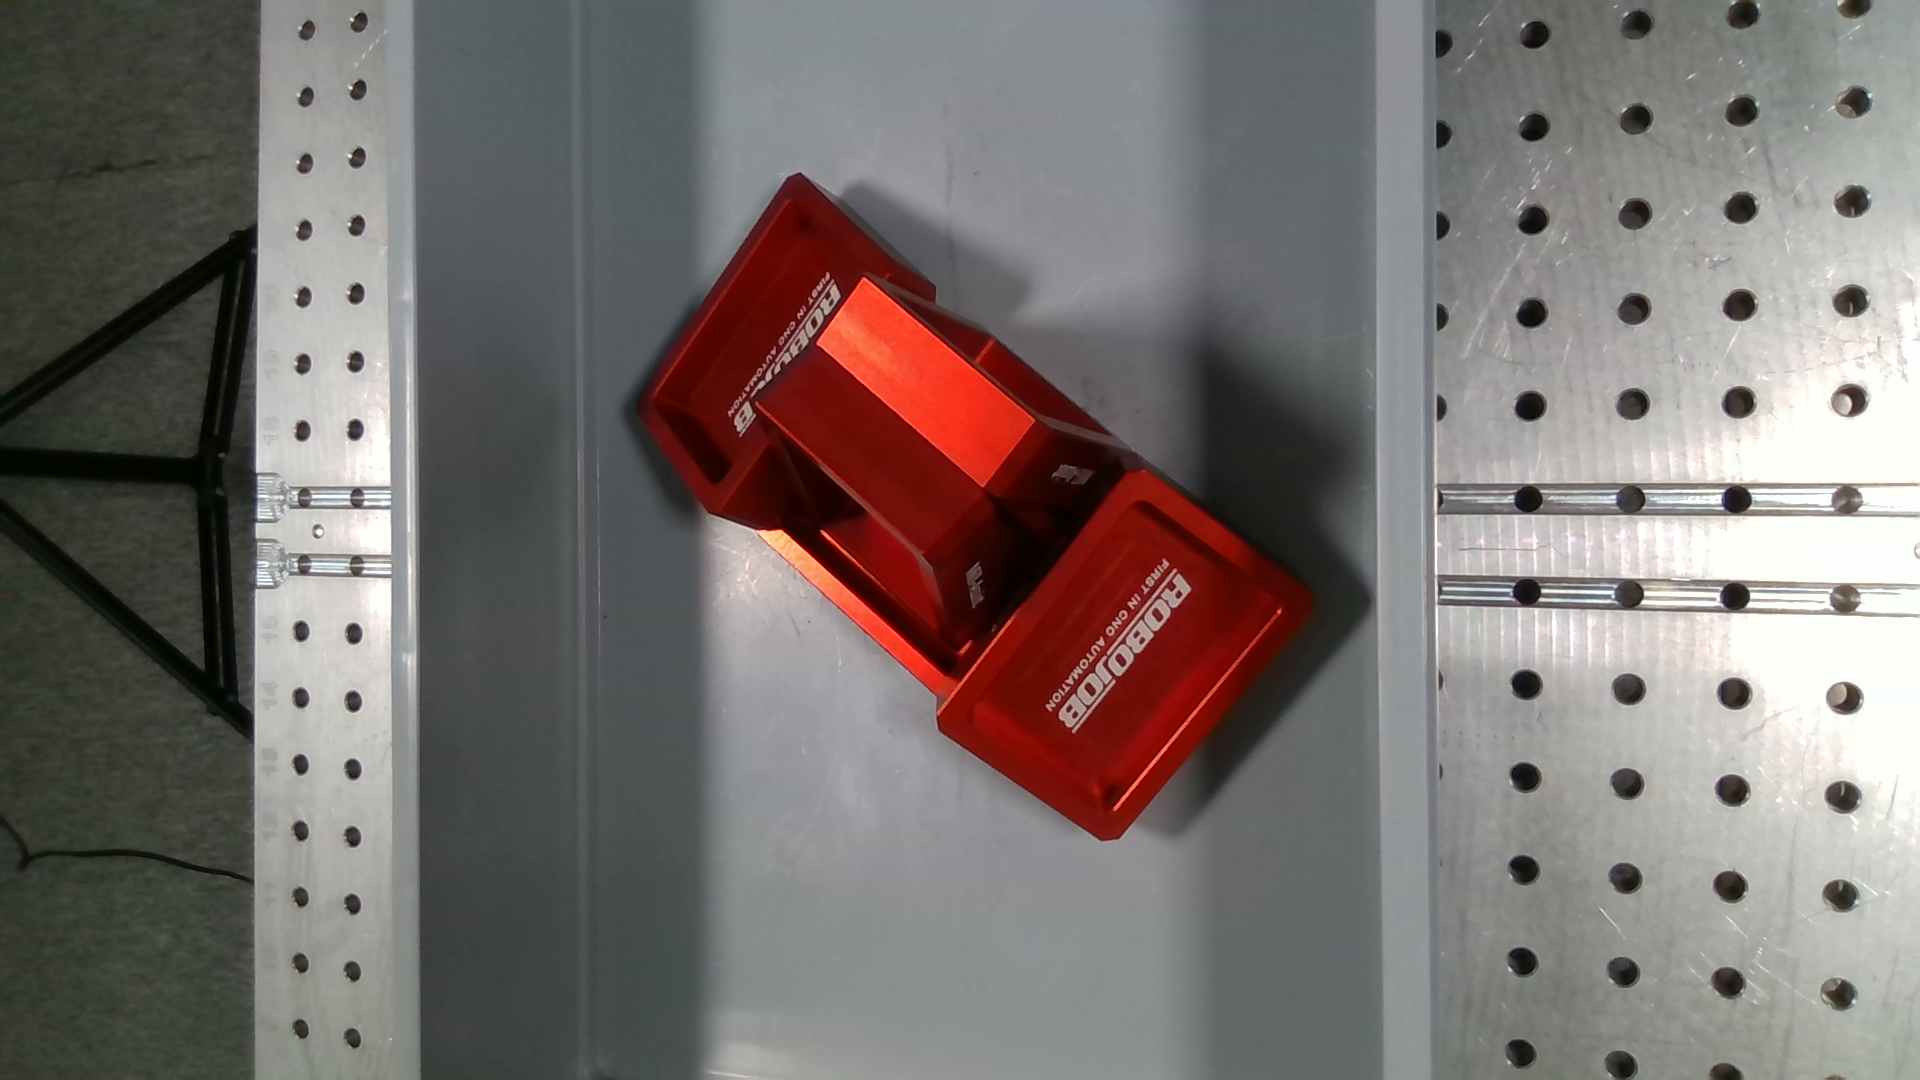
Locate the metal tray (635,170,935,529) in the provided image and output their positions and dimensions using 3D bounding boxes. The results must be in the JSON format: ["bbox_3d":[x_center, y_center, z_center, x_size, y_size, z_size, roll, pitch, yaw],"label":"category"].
[{"bbox_3d":[-0.078,-0.082,0.591,0.130,0.030,0.090,-52,50,13],"label":"metal tray"}]

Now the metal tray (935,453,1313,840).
[{"bbox_3d":[0.062,0.043,0.541,0.090,0.030,0.130,35,103,-9],"label":"metal tray"}]

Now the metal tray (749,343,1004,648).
[{"bbox_3d":[-0.026,-0.012,0.525,0.090,0.130,0.030,42,80,15],"label":"metal tray"}]

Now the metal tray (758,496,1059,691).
[{"bbox_3d":[-0.015,0.000,0.587,0.130,0.030,0.090,41,103,15],"label":"metal tray"}]

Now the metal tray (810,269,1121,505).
[{"bbox_3d":[0.009,-0.054,0.523,0.090,0.130,0.030,42,103,15],"label":"metal tray"}]
